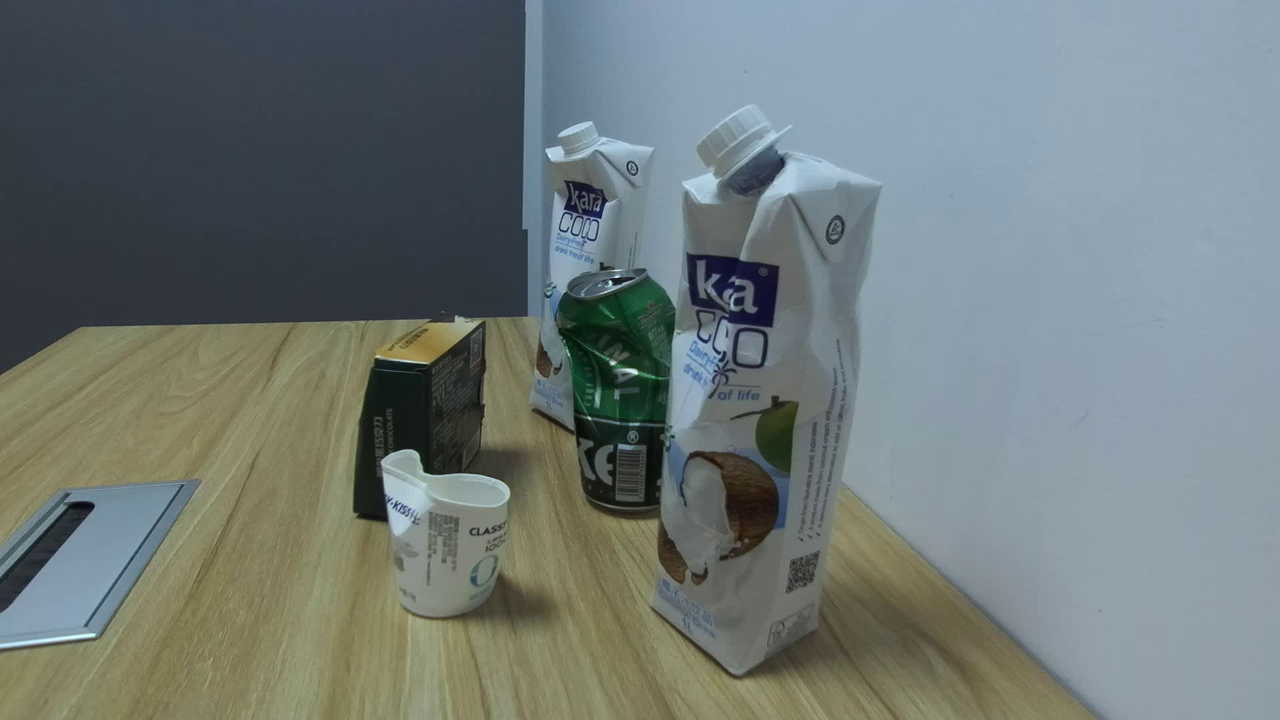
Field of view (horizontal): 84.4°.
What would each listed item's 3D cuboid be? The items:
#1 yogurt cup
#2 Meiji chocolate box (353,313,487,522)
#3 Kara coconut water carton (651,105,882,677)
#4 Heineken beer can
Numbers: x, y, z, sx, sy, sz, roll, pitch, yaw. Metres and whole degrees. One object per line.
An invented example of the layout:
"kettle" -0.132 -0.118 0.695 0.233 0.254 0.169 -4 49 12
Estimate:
"yogurt cup" -0.103 0.091 0.376 0.075 0.071 0.053 5 19 5
"Meiji chocolate box" -0.147 0.033 0.479 0.058 0.110 0.113 8 19 3
"Kara coconut water carton" 0.053 0.018 0.333 0.079 0.255 0.083 -8 22 -26
"Heineken beer can" -0.006 0.021 0.469 0.079 0.159 0.067 -9 20 -9
